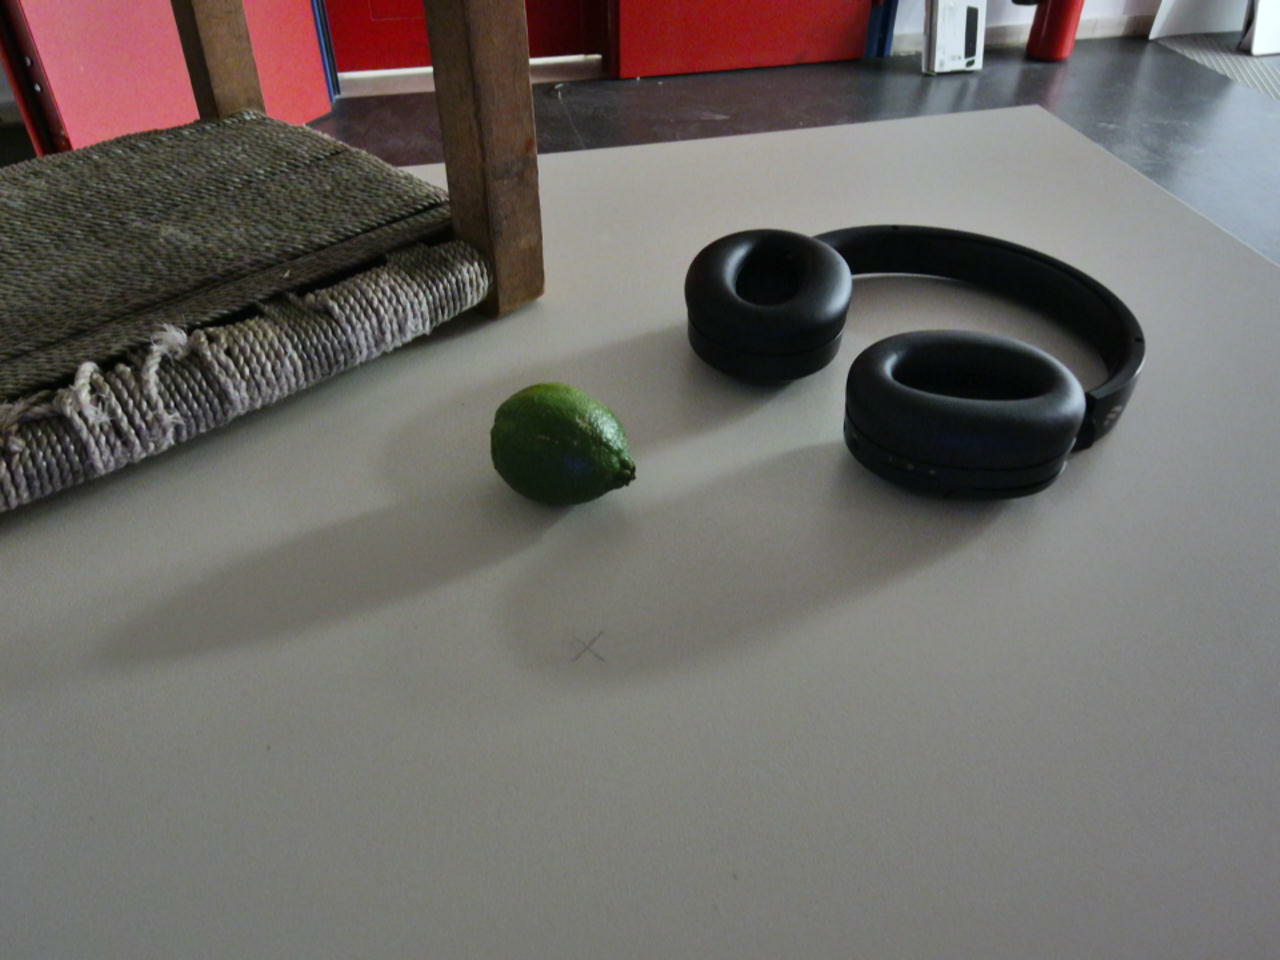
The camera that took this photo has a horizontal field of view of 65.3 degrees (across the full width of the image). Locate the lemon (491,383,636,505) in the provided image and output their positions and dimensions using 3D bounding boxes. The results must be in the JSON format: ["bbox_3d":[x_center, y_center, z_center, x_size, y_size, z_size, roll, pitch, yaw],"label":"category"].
[{"bbox_3d":[-0.034,-0.016,0.423,0.057,0.051,0.054,-11,40,-14],"label":"lemon"}]
